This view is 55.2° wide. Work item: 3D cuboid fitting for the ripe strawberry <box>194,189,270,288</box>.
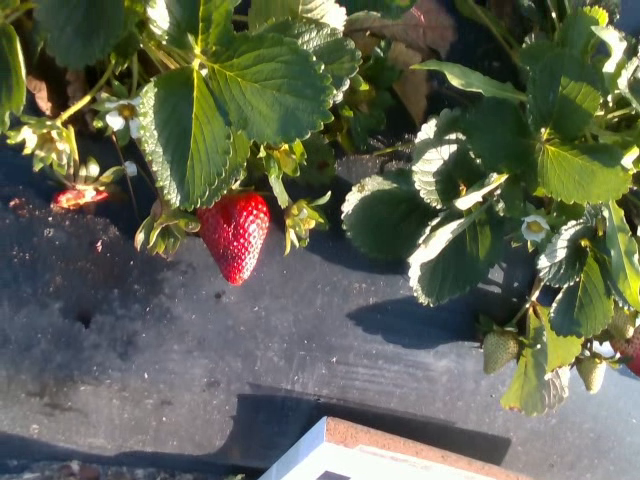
[{"bbox_3d":[-0.051,0.003,0.351,0.052,0.051,0.041,-2,-11,6],"label":"ripe strawberry"}]
